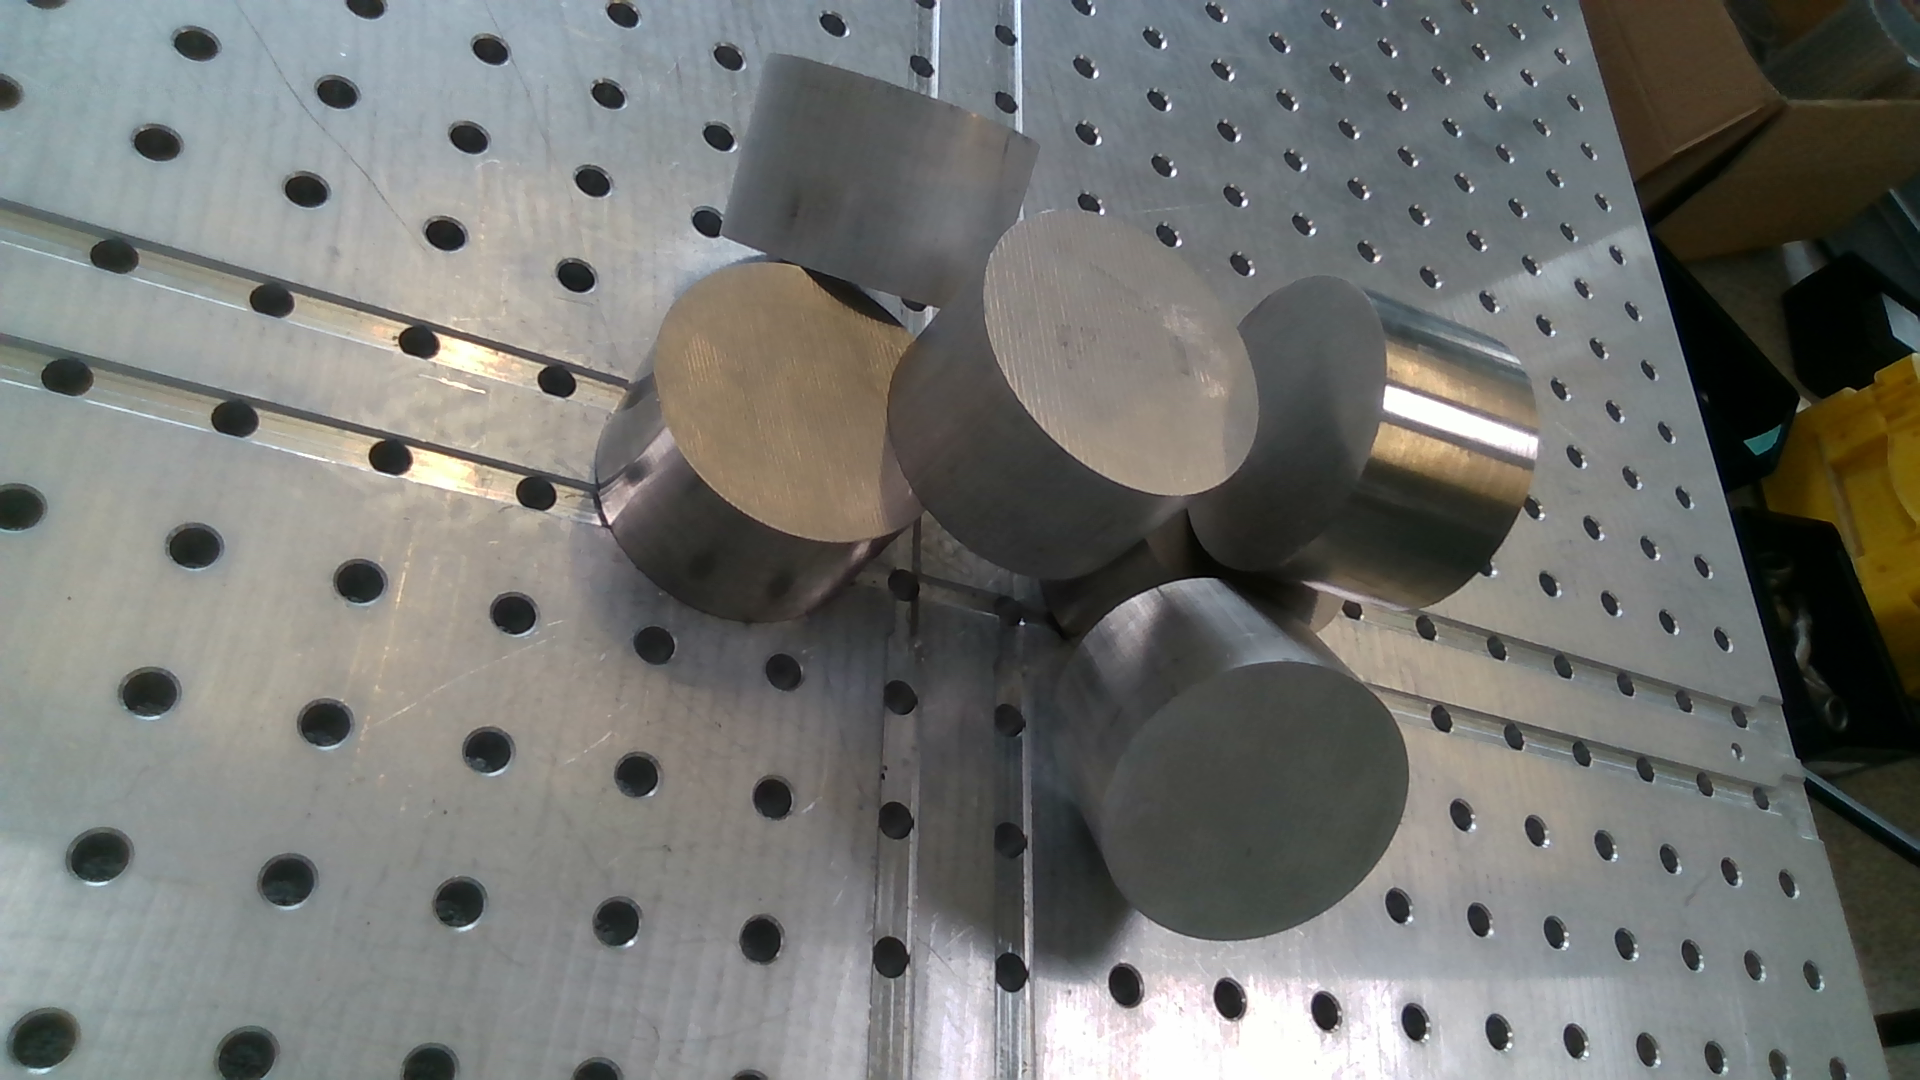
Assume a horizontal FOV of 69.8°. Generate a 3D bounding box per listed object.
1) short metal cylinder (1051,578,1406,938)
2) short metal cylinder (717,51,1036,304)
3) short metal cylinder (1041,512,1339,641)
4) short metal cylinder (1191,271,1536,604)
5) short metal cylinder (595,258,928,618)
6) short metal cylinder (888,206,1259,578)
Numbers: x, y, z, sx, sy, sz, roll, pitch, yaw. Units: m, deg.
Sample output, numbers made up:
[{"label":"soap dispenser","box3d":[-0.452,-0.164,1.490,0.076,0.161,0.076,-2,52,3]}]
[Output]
[{"label":"short metal cylinder","box3d":[0.069,0.056,0.364,0.080,0.080,0.050,24,15,-19]},{"label":"short metal cylinder","box3d":[-0.024,-0.100,0.393,0.080,0.080,0.050,12,103,-26]},{"label":"short metal cylinder","box3d":[0.071,0.002,0.422,0.080,0.050,0.080,14,59,-24]},{"label":"short metal cylinder","box3d":[0.106,-0.026,0.373,0.050,0.080,0.080,15,59,-25]},{"label":"short metal cylinder","box3d":[-0.050,-0.026,0.362,0.080,0.050,0.080,14,59,-24]},{"label":"short metal cylinder","box3d":[0.028,-0.037,0.351,0.080,0.050,0.080,14,59,-25]}]
